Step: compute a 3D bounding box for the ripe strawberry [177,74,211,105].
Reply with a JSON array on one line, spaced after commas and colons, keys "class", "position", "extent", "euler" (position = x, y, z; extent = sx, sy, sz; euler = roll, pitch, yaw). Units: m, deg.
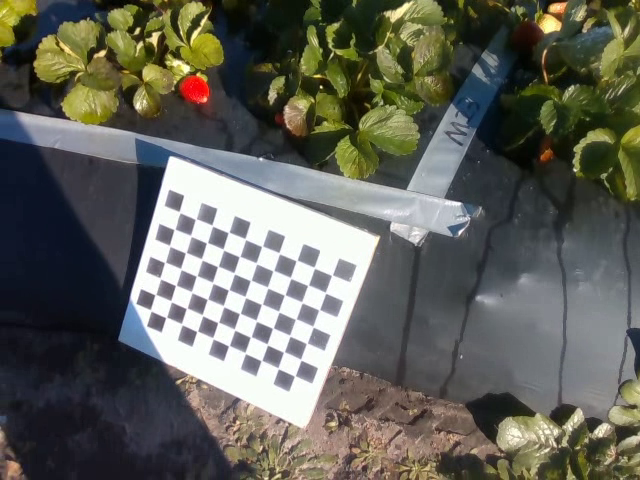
[{"class": "ripe strawberry", "position": [-0.174, -0.210, 0.871], "extent": [0.045, 0.058, 0.042], "euler": [-43, -24, 15]}]
